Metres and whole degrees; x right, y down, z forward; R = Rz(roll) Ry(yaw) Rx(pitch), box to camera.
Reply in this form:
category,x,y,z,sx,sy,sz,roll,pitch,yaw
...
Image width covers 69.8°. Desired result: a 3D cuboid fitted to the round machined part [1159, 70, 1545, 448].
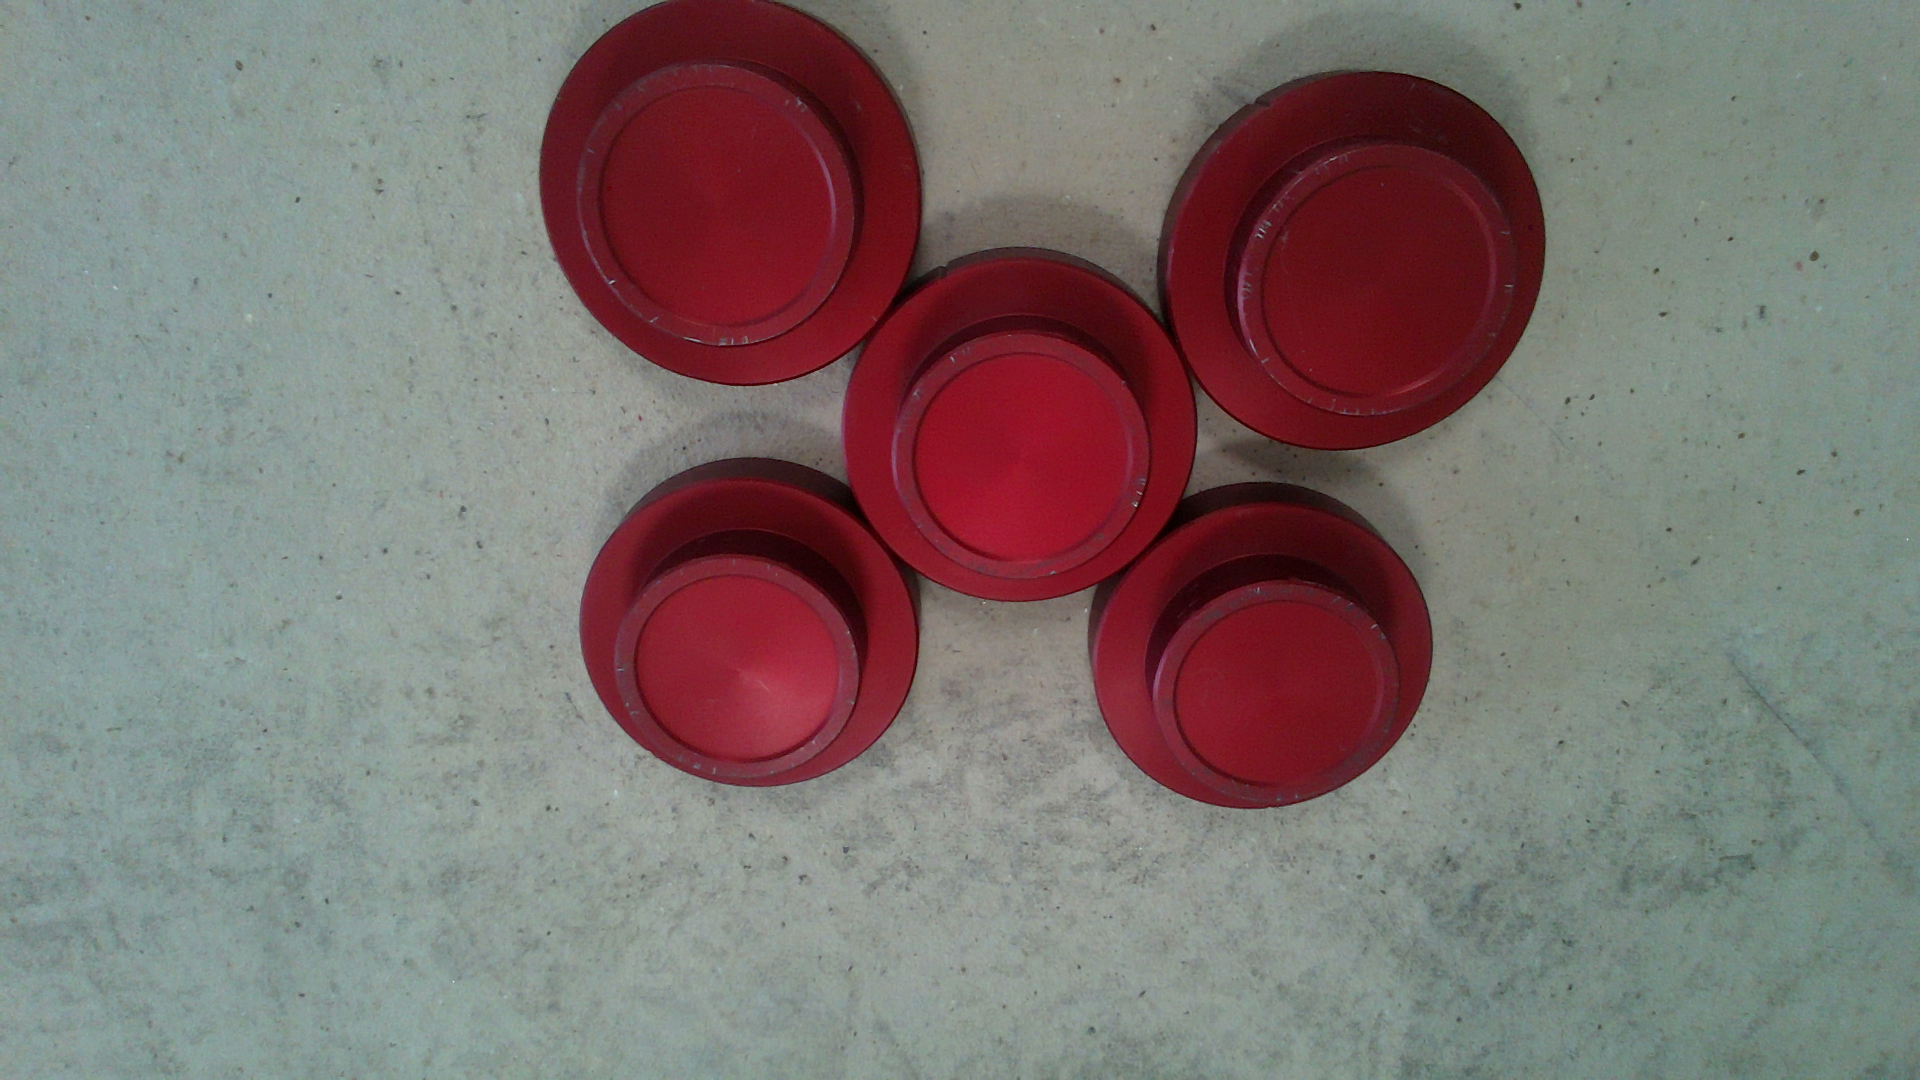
category,x,y,z,sx,sy,sz,roll,pitch,yaw
round machined part,0.103,-0.070,0.359,0.098,0.042,0.098,0,112,1

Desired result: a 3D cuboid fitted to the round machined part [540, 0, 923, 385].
category,x,y,z,sx,sy,sz,roll,pitch,yaw
round machined part,-0.058,-0.087,0.352,0.098,0.042,0.098,0,110,0

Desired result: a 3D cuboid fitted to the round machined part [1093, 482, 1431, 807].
category,x,y,z,sx,sy,sz,roll,pitch,yaw
round machined part,0.088,0.036,0.399,0.098,0.042,0.098,0,112,1

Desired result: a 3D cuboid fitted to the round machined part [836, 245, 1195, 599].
category,x,y,z,sx,sy,sz,roll,pitch,yaw
round machined part,0.015,-0.028,0.375,0.098,0.042,0.098,0,112,1

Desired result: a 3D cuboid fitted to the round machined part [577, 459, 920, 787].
category,x,y,z,sx,sy,sz,roll,pitch,yaw
round machined part,-0.061,0.029,0.395,0.098,0.042,0.098,0,111,0
